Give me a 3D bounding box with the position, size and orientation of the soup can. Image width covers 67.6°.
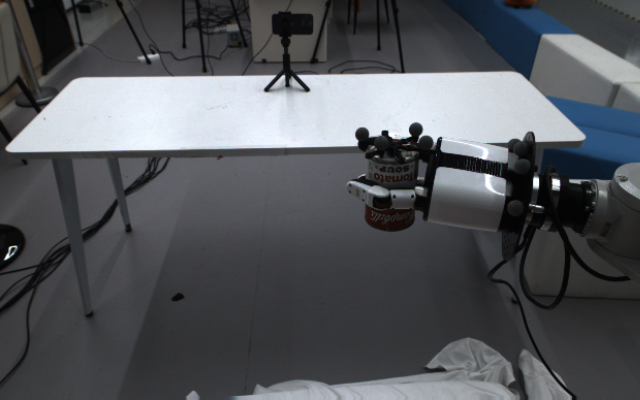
[{"bbox_3d":[0.094,-0.020,0.626,0.067,0.101,0.067,-2,32,1],"label":"soup can"}]
